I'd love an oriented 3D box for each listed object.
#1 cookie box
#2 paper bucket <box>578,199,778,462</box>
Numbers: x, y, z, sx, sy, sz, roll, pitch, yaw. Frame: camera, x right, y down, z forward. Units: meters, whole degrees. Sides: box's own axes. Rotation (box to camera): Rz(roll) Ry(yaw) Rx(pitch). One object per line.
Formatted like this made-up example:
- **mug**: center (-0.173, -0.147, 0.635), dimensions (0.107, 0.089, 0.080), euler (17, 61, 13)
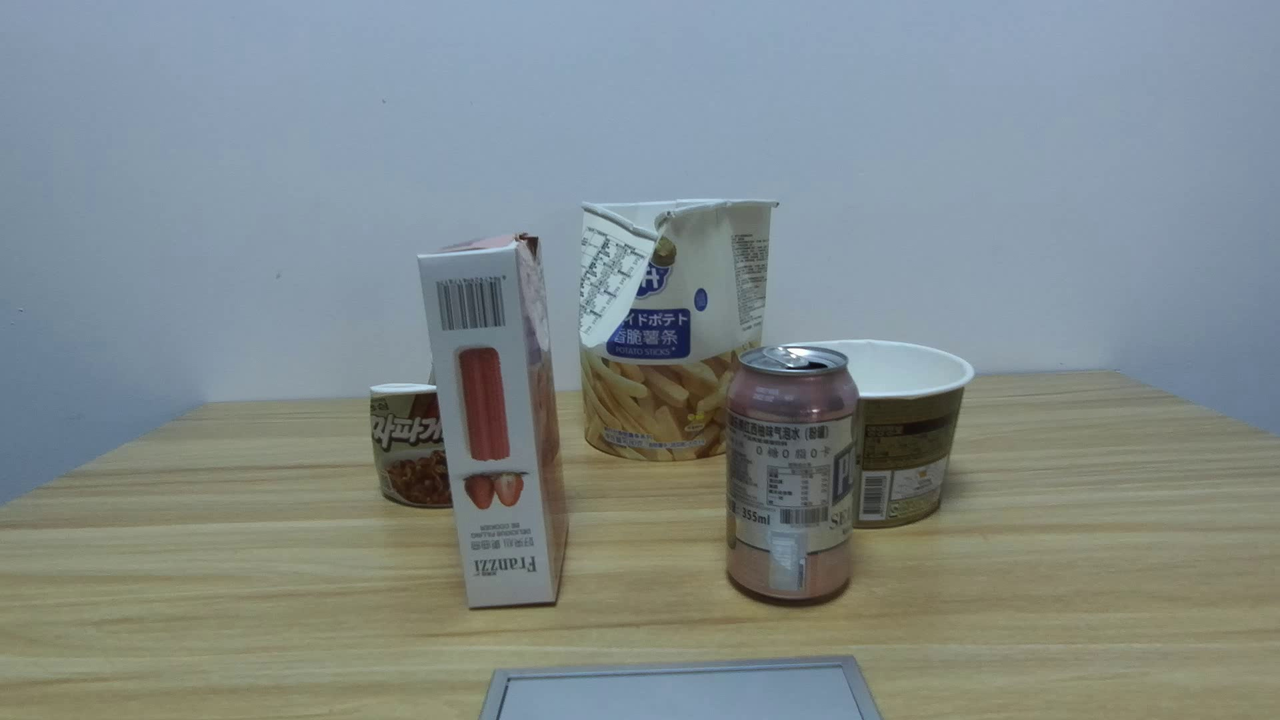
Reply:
- **cookie box**: center (-0.073, 0.027, 0.390), dimensions (0.049, 0.187, 0.105), euler (-4, 14, -1)
- **paper bucket**: center (0.016, -0.033, 0.596), dimensions (0.162, 0.202, 0.170), euler (7, 14, 38)
